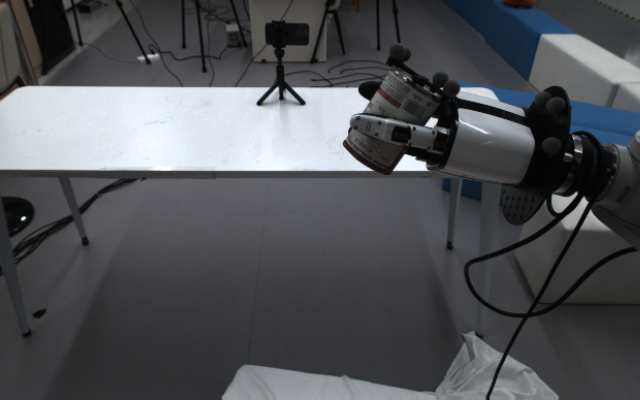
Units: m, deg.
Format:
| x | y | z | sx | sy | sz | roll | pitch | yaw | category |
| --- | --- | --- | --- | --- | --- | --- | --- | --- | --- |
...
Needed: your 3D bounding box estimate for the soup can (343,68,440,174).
| x | y | z | sx | sy | sz | roll | pitch | yaw | category |
| --- | --- | --- | --- | --- | --- | --- | --- | --- | --- |
| 0.082 | -0.089 | 0.548 | 0.067 | 0.101 | 0.067 | 28 | 22 | -12 | soup can |
